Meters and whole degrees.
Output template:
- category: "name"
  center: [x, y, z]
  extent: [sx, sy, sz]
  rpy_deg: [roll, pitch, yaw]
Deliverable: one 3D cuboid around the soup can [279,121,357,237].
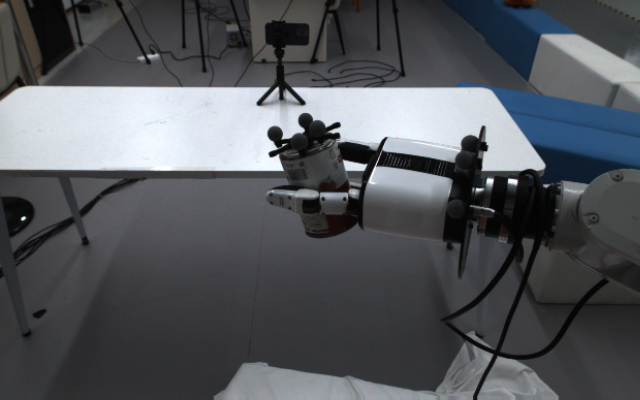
- category: "soup can"
  center: [0.002, -0.017, 0.549]
  extent: [0.067, 0.101, 0.067]
  rpy_deg: [-16, 23, 7]
